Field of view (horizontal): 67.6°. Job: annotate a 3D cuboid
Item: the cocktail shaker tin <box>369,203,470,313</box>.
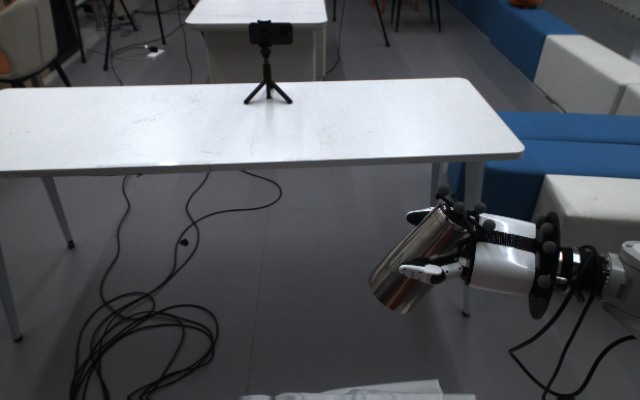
[{"bbox_3d":[0.158,0.080,0.744,0.093,0.170,0.093,26,32,-17],"label":"cocktail shaker tin"}]
